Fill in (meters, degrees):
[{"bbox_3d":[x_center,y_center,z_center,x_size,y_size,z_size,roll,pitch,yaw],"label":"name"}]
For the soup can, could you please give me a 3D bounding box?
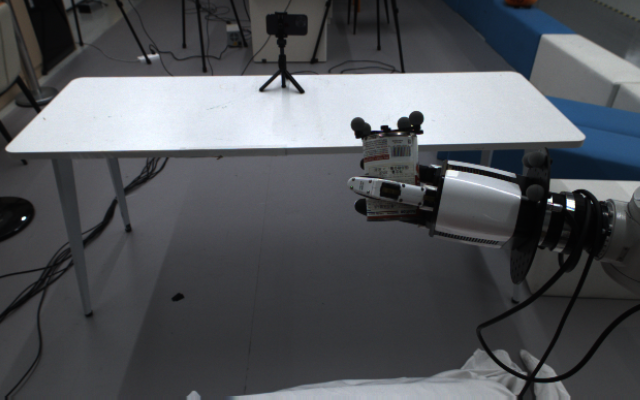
[{"bbox_3d":[0.089,-0.026,0.584,0.067,0.101,0.067,-3,-1,0],"label":"soup can"}]
